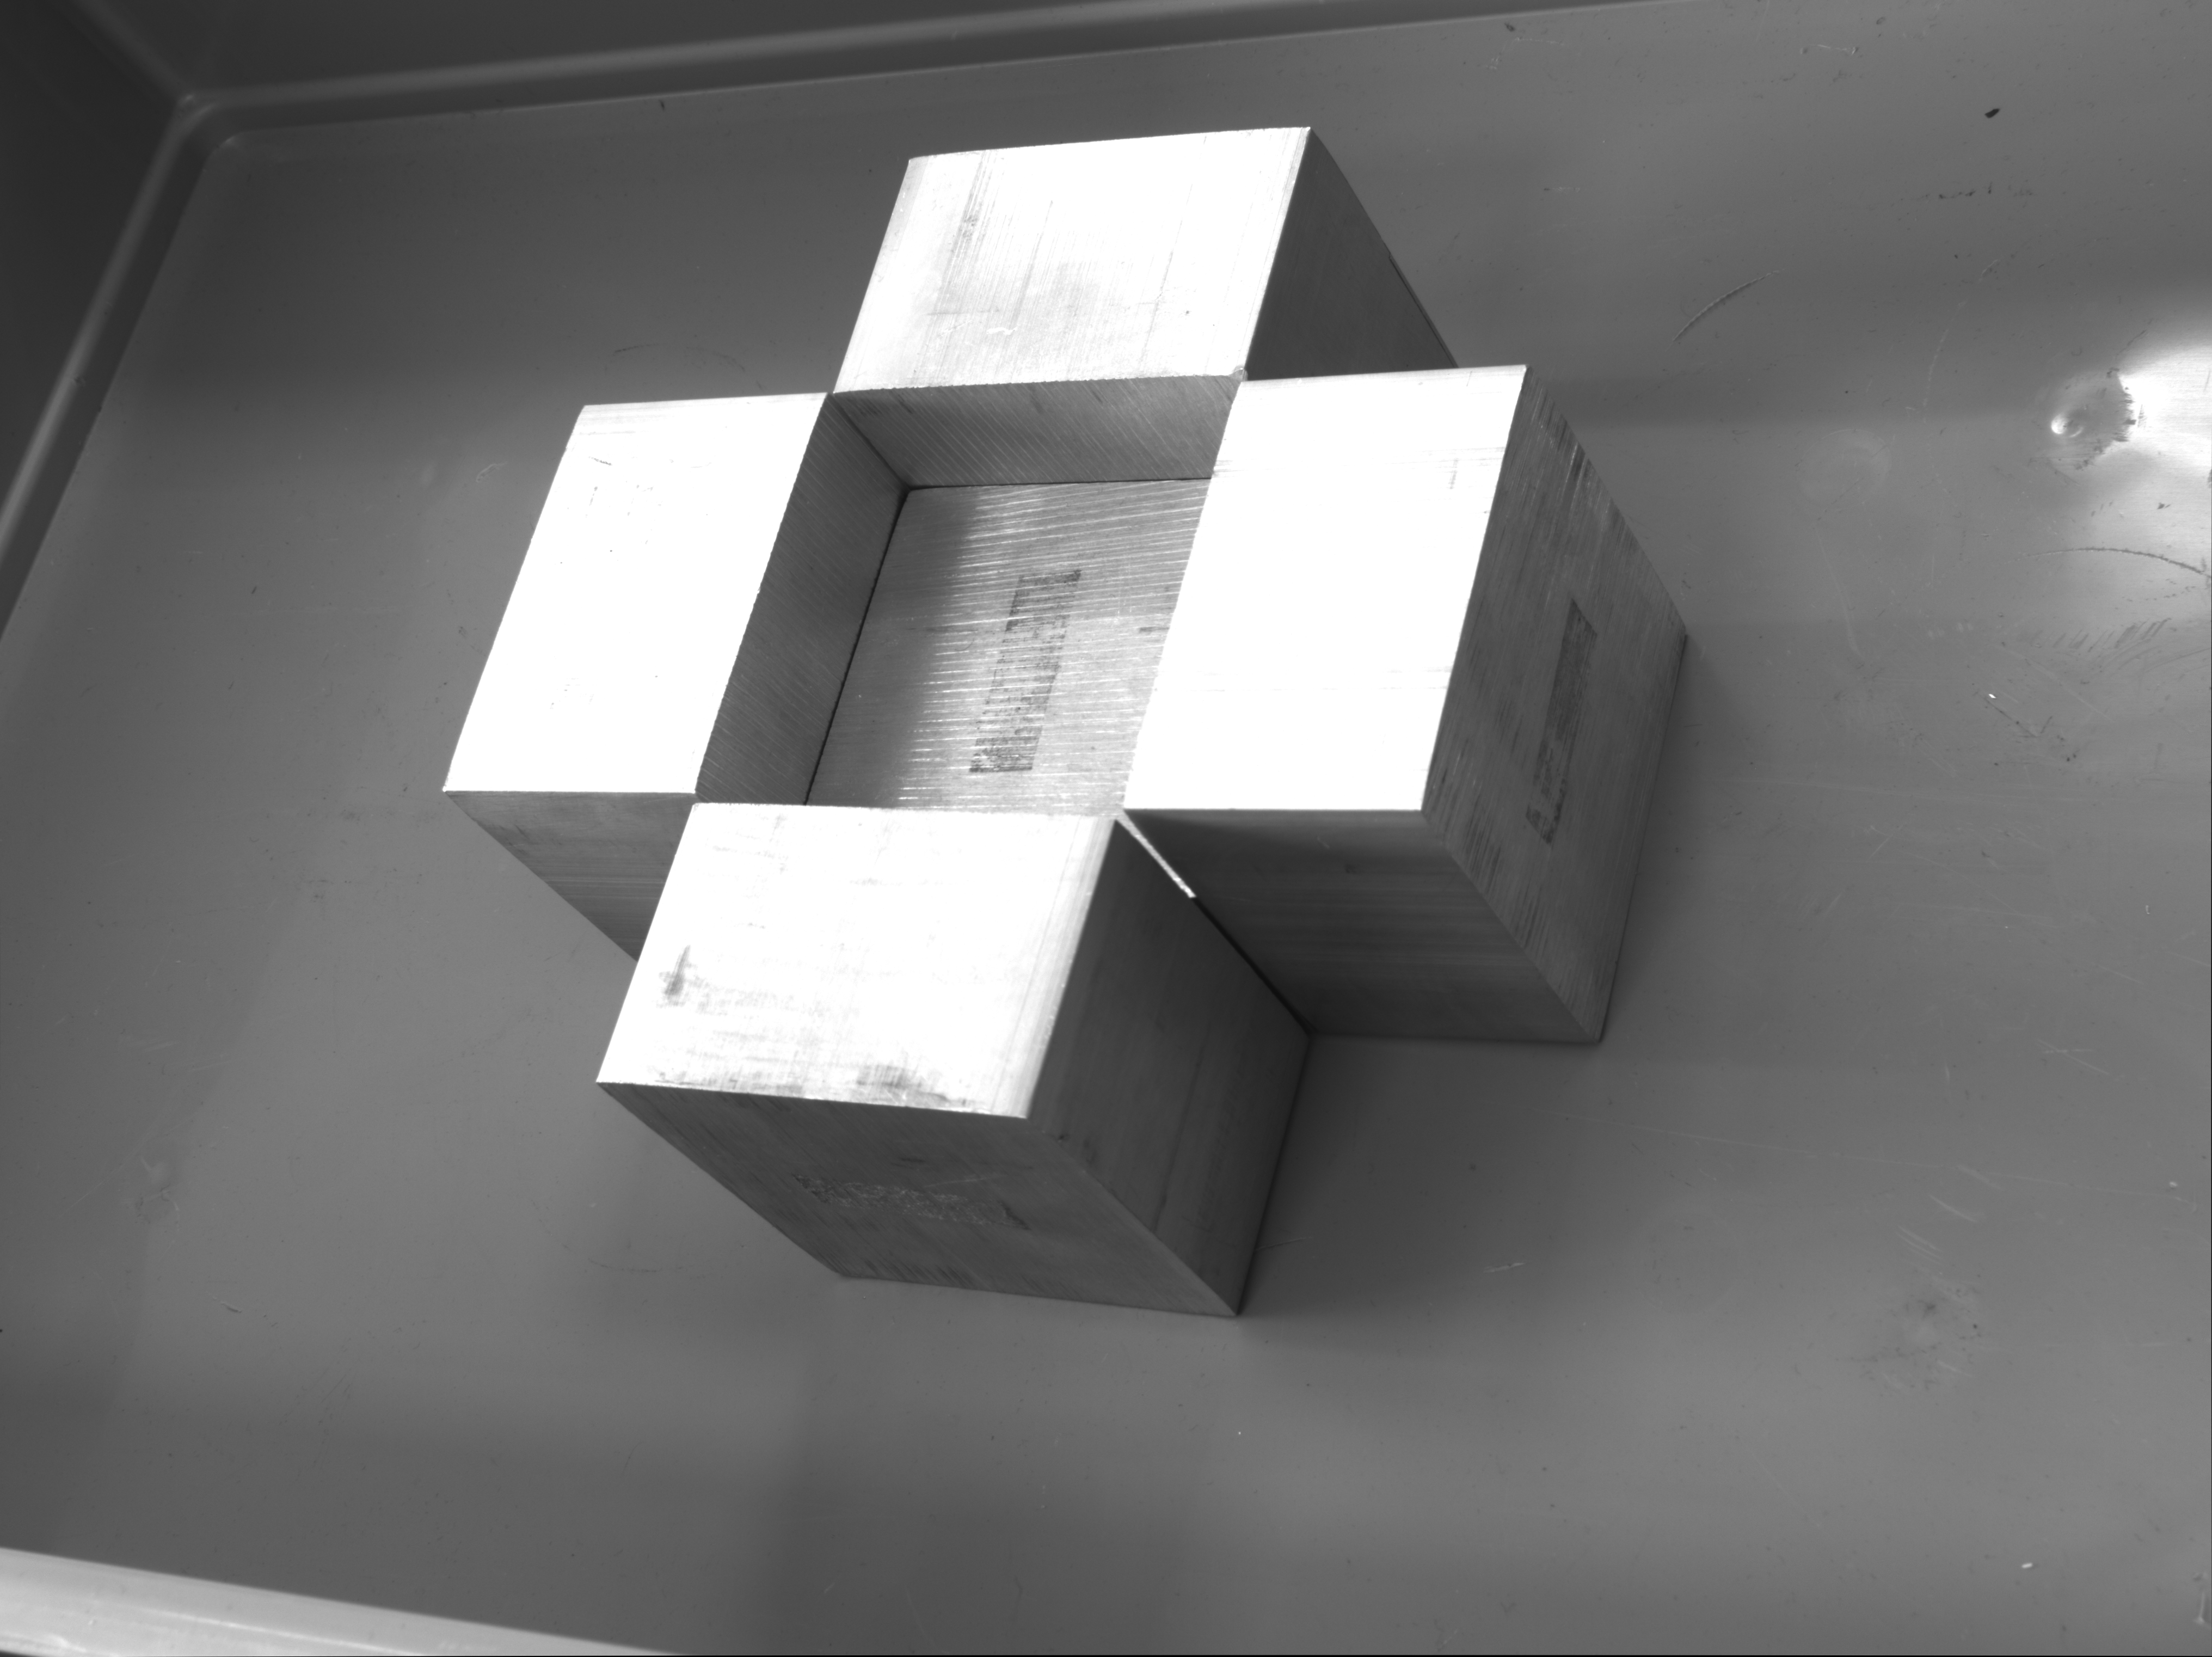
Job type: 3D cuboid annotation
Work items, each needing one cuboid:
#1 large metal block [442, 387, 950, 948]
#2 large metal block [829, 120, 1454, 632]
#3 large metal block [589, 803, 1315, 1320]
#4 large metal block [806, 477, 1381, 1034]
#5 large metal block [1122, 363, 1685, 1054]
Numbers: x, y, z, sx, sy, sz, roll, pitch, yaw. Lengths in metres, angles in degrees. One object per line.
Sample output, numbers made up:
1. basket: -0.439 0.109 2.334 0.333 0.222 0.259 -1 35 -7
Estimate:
1. large metal block: -0.064 -0.022 0.657 0.050 0.080 0.080 1 62 29
2. large metal block: 0.010 -0.077 0.650 0.080 0.080 0.050 1 62 29
3. large metal block: -0.023 0.038 0.596 0.080 0.080 0.050 2 62 29
4. large metal block: 0.000 -0.013 0.634 0.080 0.050 0.080 1 62 29
5. large metal block: 0.051 -0.018 0.592 0.050 0.080 0.080 1 62 29
